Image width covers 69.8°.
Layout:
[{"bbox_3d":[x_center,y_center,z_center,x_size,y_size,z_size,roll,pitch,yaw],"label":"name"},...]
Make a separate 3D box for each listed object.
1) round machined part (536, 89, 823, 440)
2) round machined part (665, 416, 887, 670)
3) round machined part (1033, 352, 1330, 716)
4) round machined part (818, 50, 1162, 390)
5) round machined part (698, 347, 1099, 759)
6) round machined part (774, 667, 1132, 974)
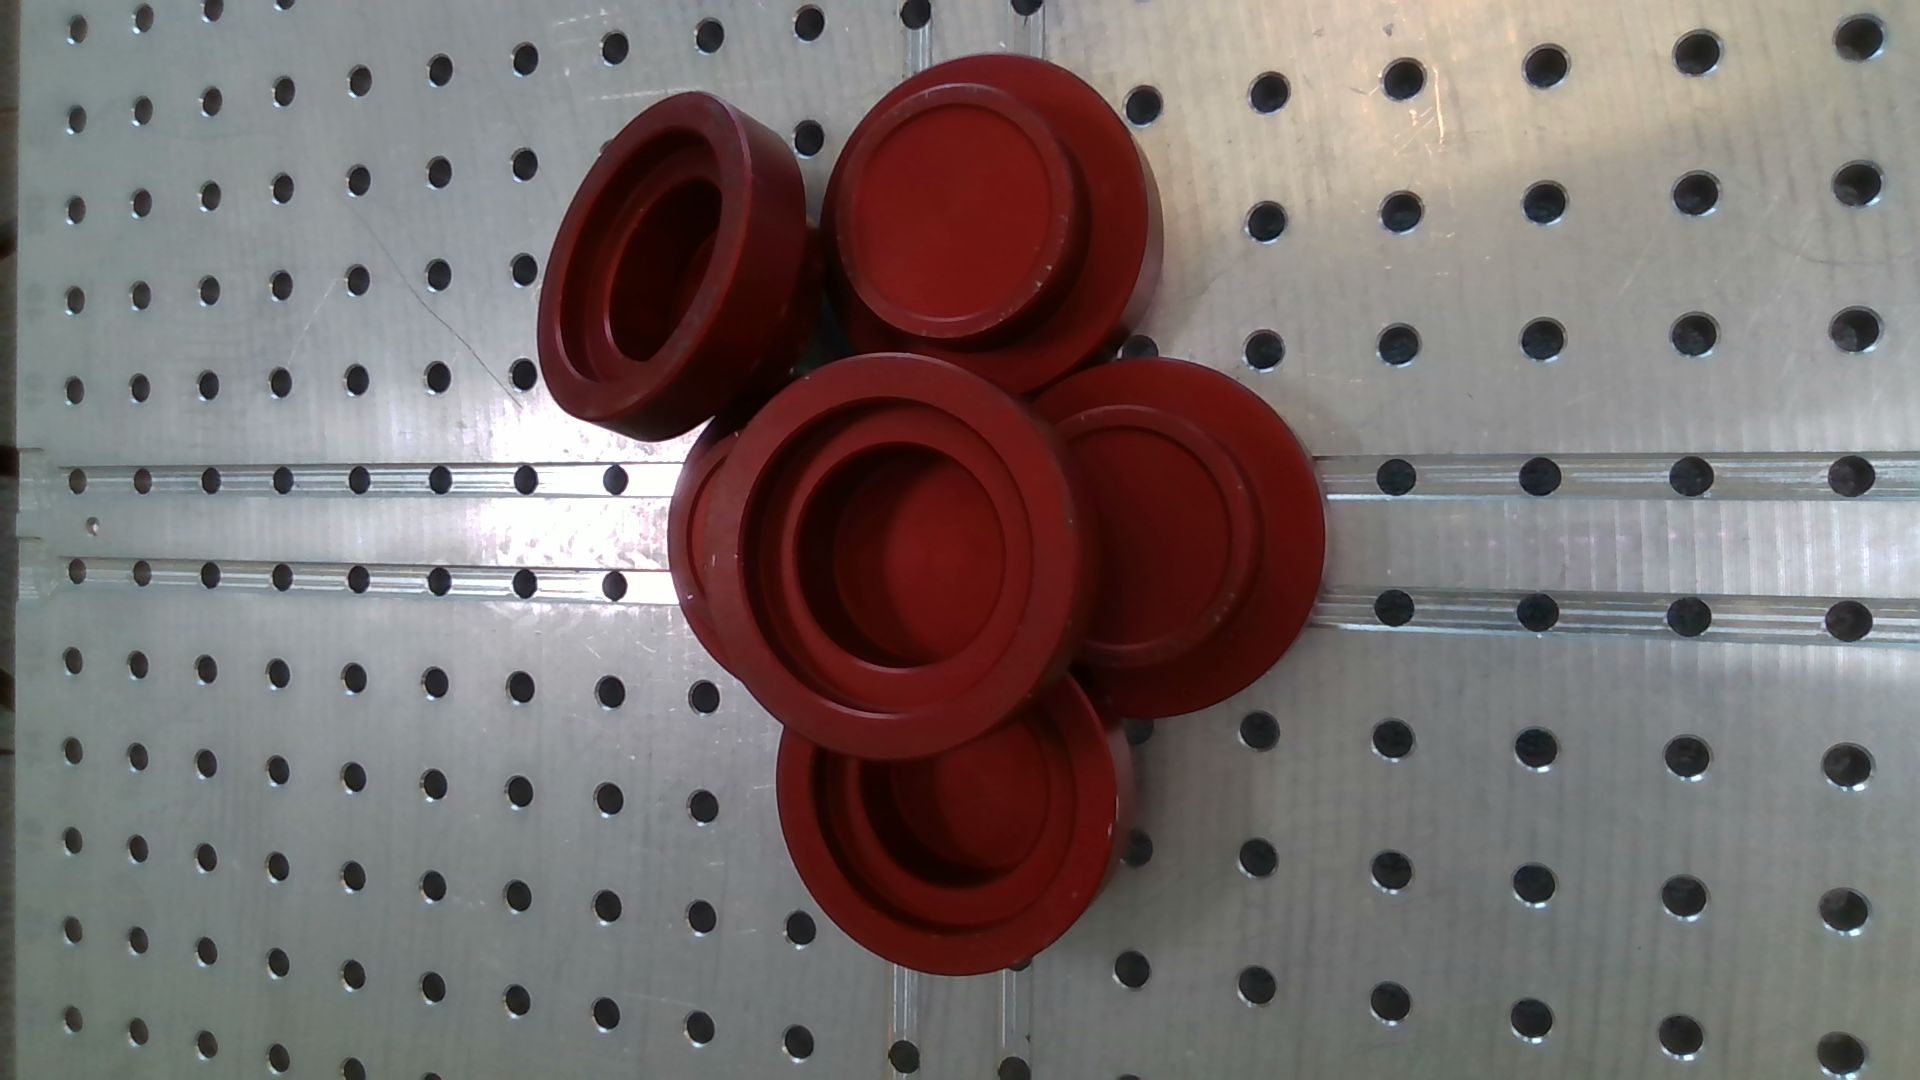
[{"bbox_3d":[-0.078,-0.076,0.401,0.098,0.042,0.098,-16,66,39],"label":"round machined part"},{"bbox_3d":[-0.045,-0.001,0.403,0.098,0.042,0.098,0,90,20],"label":"round machined part"},{"bbox_3d":[0.048,-0.002,0.370,0.098,0.042,0.098,0,90,20],"label":"round machined part"},{"bbox_3d":[0.004,-0.088,0.385,0.098,0.042,0.098,0,90,20],"label":"round machined part"},{"bbox_3d":[-0.013,0.003,0.346,0.098,0.042,0.098,0,90,20],"label":"round machined part"},{"bbox_3d":[0.001,0.067,0.387,0.098,0.042,0.098,0,90,20],"label":"round machined part"}]
